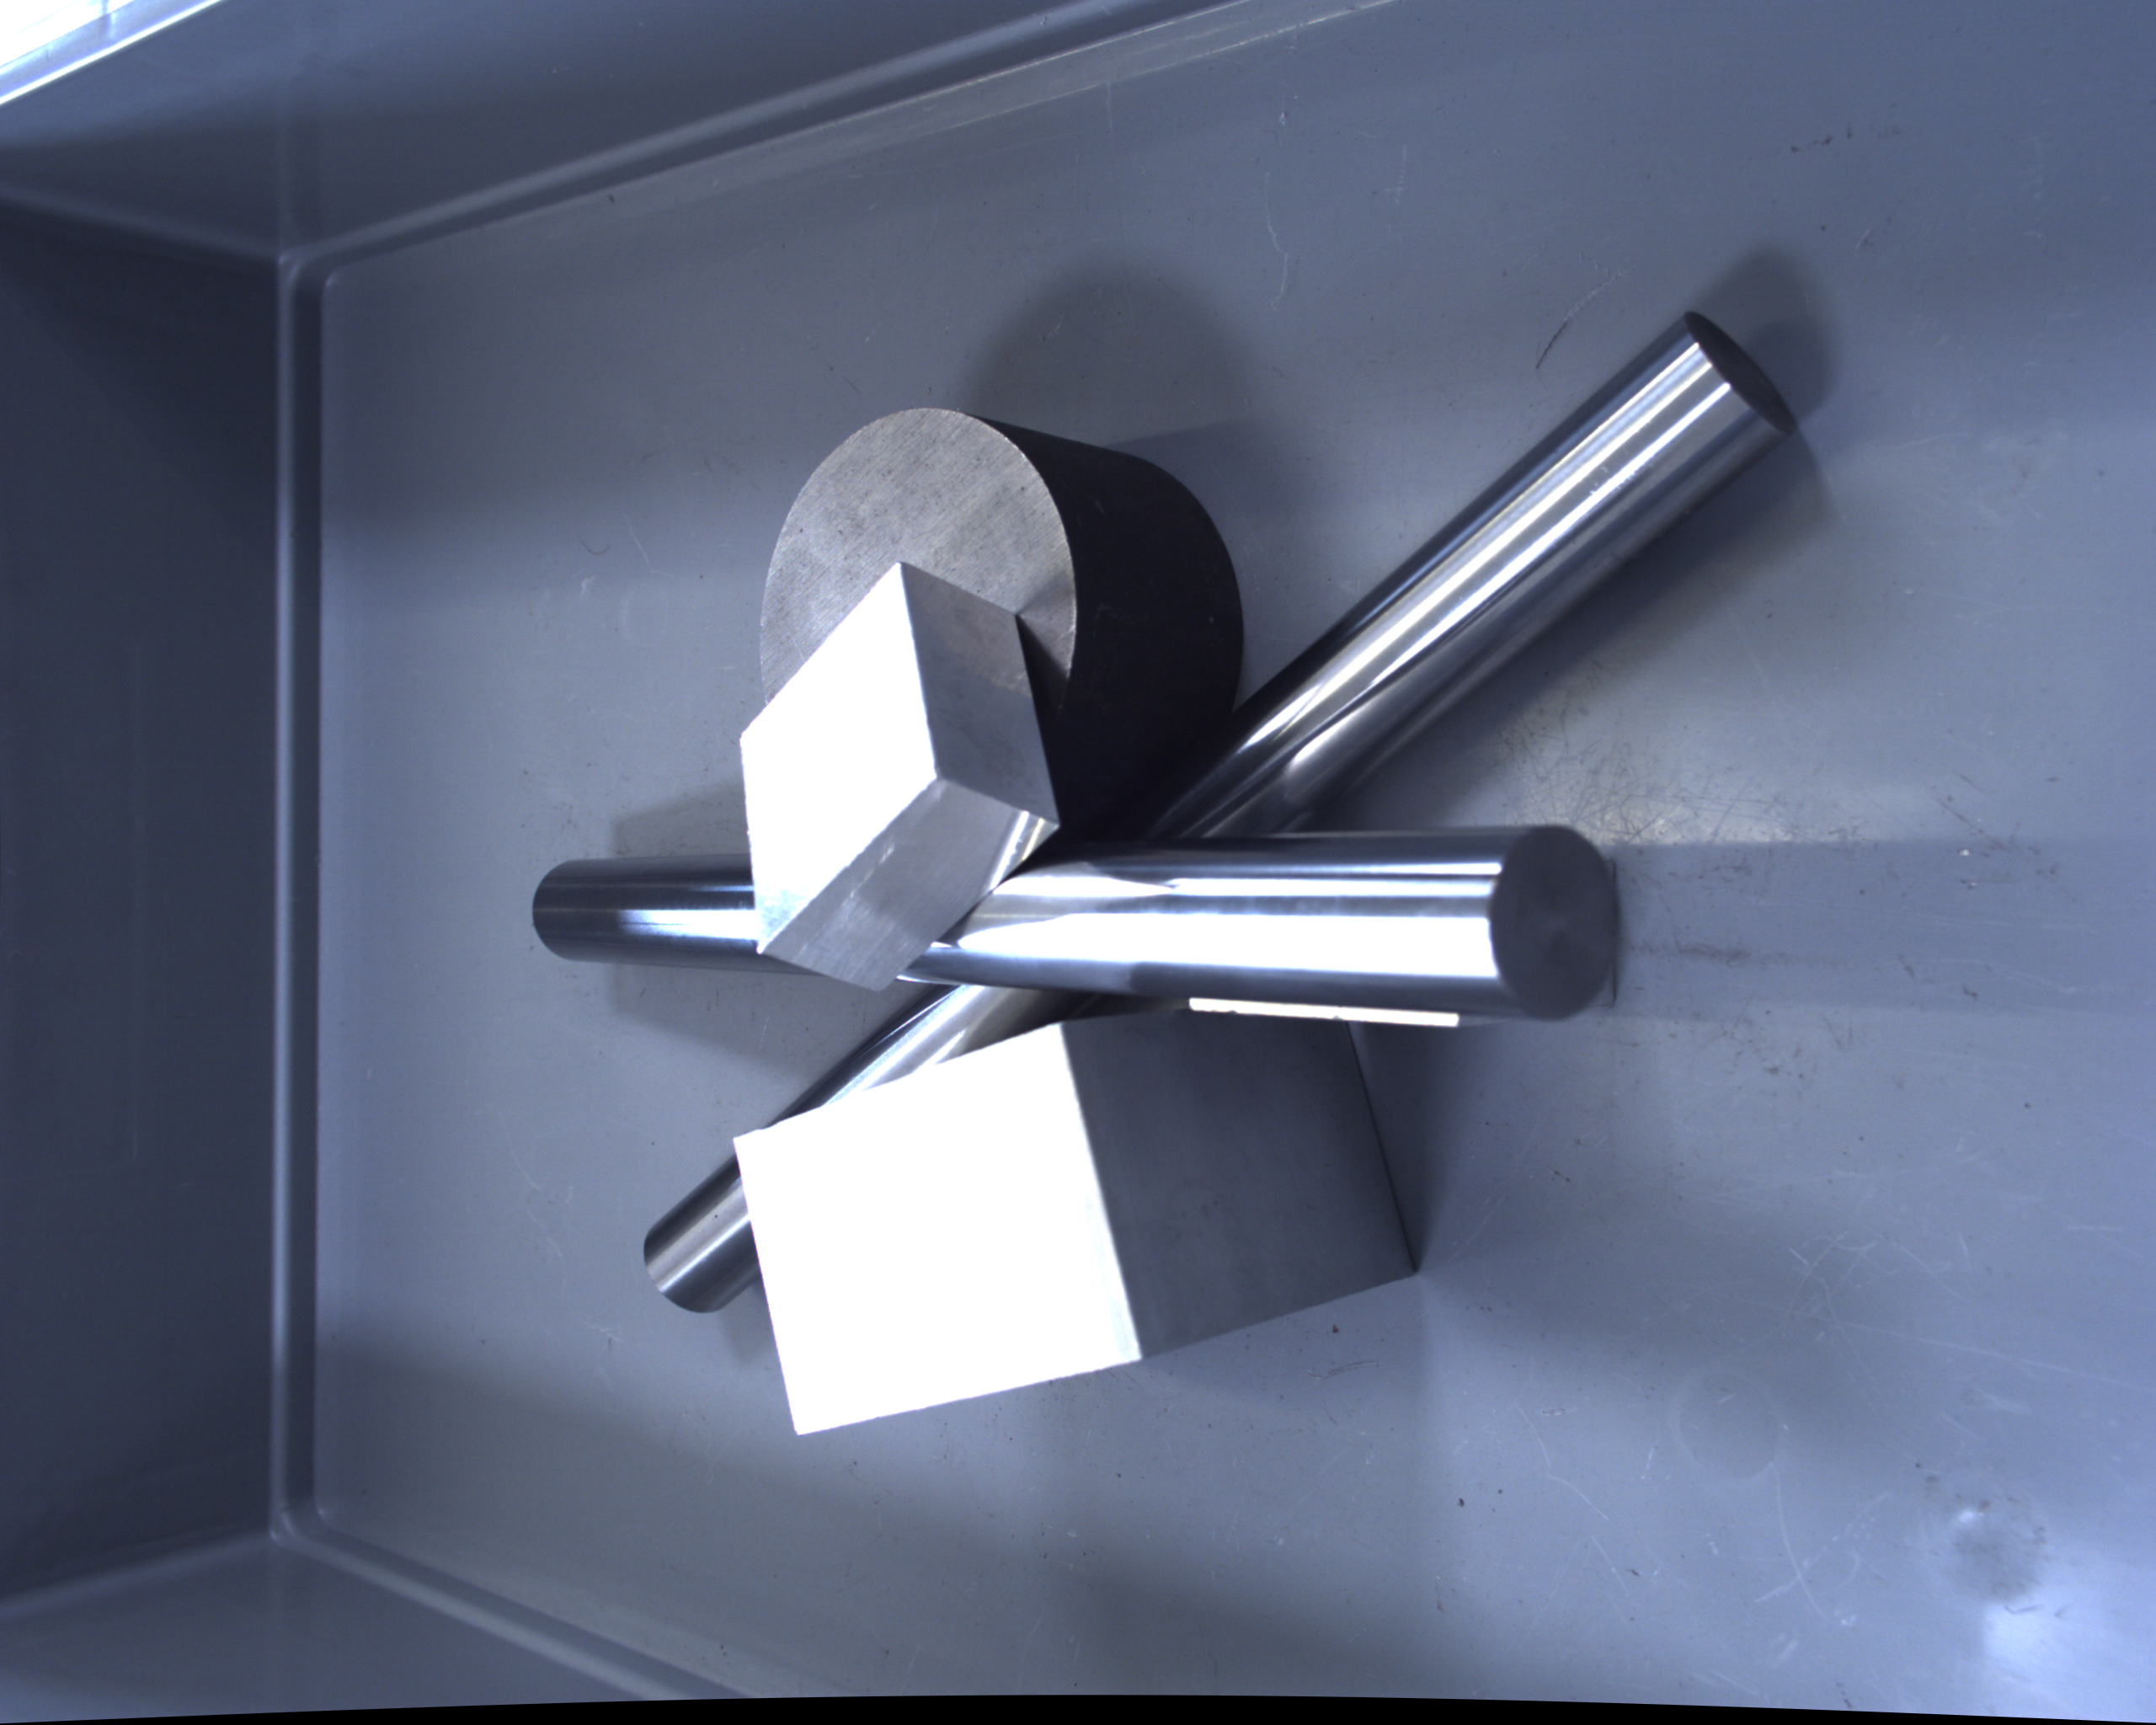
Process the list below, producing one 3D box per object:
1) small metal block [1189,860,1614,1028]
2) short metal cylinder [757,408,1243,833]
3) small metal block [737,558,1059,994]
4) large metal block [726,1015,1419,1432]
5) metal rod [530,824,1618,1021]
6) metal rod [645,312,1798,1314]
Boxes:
[{"bbox_3d":[0.054,0.012,0.344,0.050,0.050,0.025,0,90,41],"label":"small metal block"},{"bbox_3d":[-0.016,-0.043,0.401,0.080,0.050,0.080,-1,89,40],"label":"short metal cylinder"},{"bbox_3d":[-0.032,-0.014,0.355,0.050,0.025,0.050,-43,42,32],"label":"small metal block"},{"bbox_3d":[-0.001,0.061,0.368,0.080,0.081,0.050,-23,76,38],"label":"large metal block"},{"bbox_3d":[-0.030,0.010,0.383,0.299,0.025,0.025,-1,89,53],"label":"metal rod"},{"bbox_3d":[0.007,0.008,0.400,0.299,0.025,0.025,-41,65,32],"label":"metal rod"}]
